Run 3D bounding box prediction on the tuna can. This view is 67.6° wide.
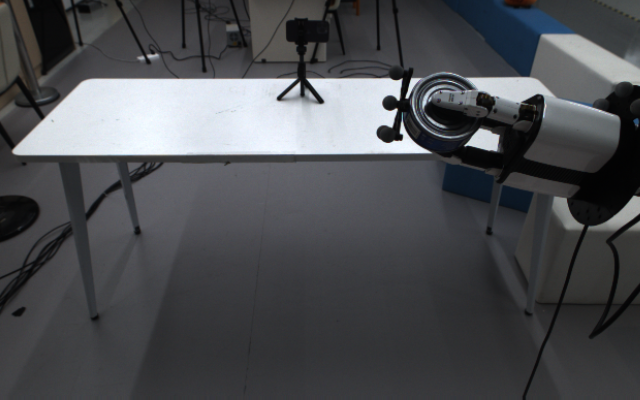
[{"bbox_3d":[0.140,-0.102,0.548,0.085,0.034,0.085,2,73,-6],"label":"tuna can"}]
